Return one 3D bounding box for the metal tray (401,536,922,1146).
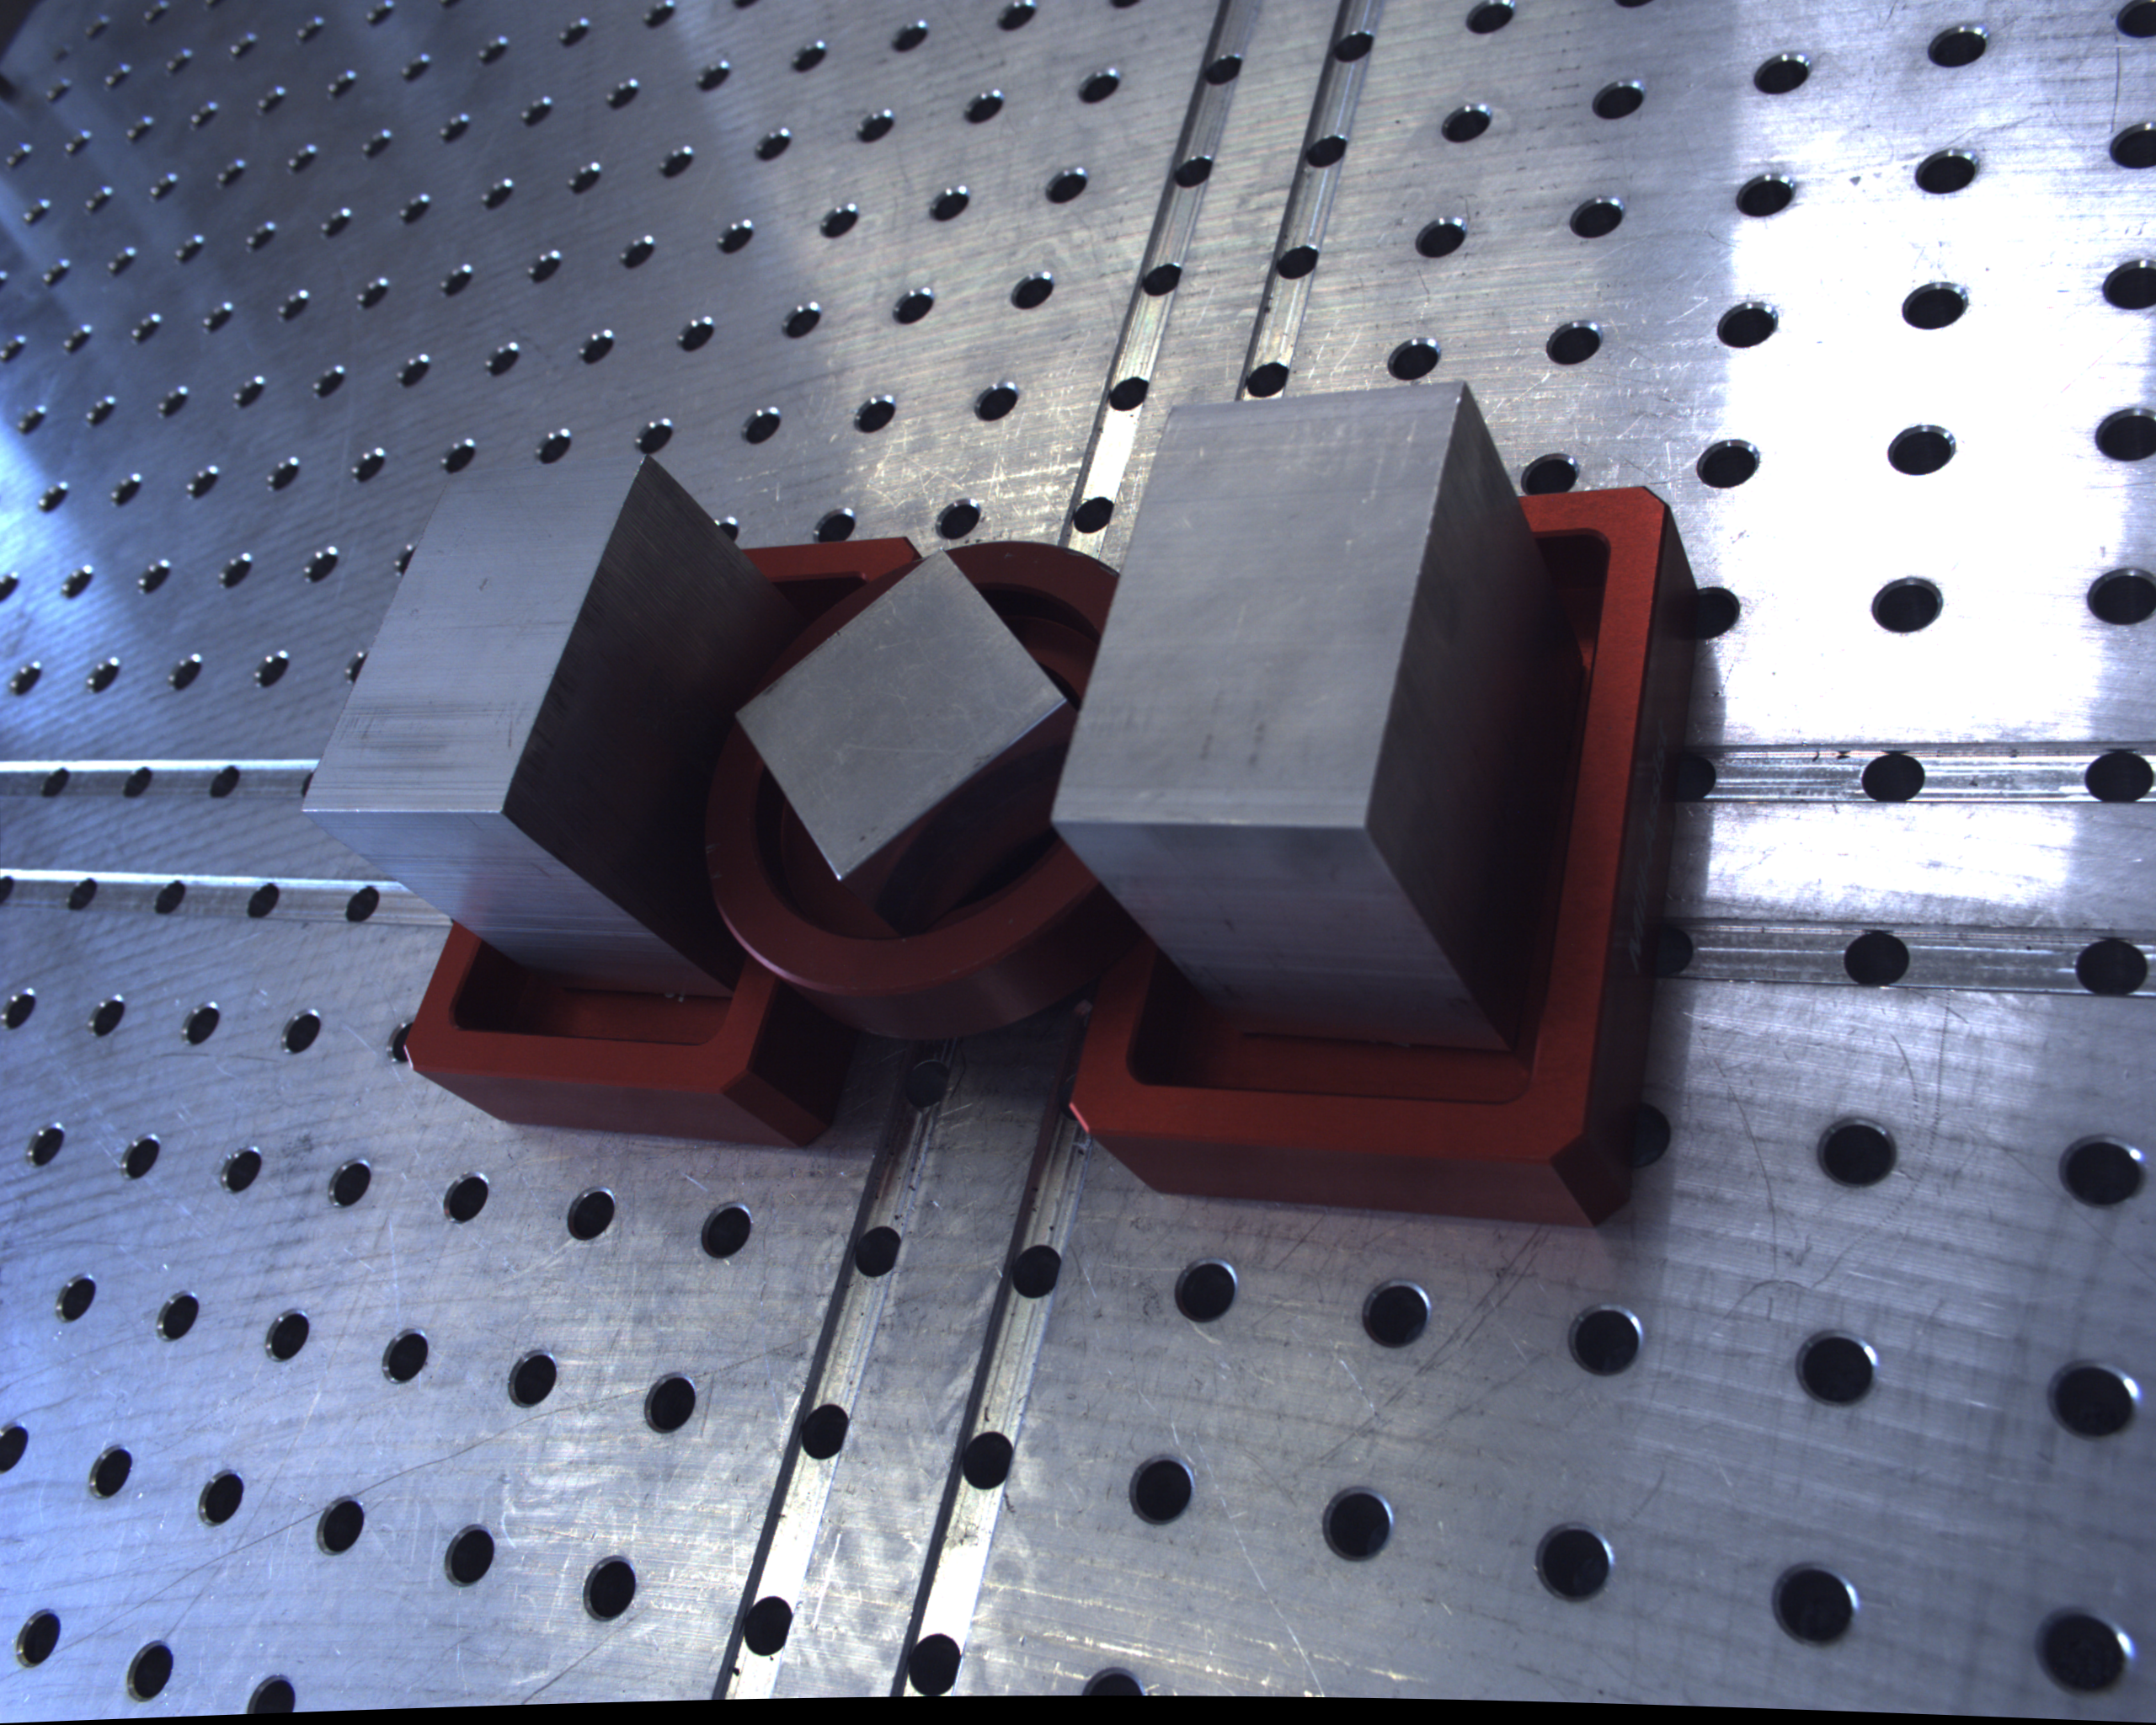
[{"bbox_3d":[-0.082,-0.007,0.452,0.090,0.030,0.130,1,62,28],"label":"metal tray"}]

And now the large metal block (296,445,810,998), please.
[{"bbox_3d":[-0.097,-0.026,0.423,0.050,0.080,0.080,1,62,29],"label":"large metal block"}]

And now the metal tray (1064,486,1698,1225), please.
[{"bbox_3d":[0.057,-0.004,0.377,0.090,0.030,0.130,0,61,28],"label":"metal tray"}]

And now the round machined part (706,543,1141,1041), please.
[{"bbox_3d":[-0.018,-0.010,0.402,0.098,0.042,0.098,-13,56,21],"label":"round machined part"}]

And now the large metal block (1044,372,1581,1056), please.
[{"bbox_3d":[0.044,-0.022,0.346,0.050,0.080,0.080,2,63,29],"label":"large metal block"}]

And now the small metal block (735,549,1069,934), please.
[{"bbox_3d":[-0.028,-0.022,0.384,0.050,0.025,0.050,-39,51,2],"label":"small metal block"}]
